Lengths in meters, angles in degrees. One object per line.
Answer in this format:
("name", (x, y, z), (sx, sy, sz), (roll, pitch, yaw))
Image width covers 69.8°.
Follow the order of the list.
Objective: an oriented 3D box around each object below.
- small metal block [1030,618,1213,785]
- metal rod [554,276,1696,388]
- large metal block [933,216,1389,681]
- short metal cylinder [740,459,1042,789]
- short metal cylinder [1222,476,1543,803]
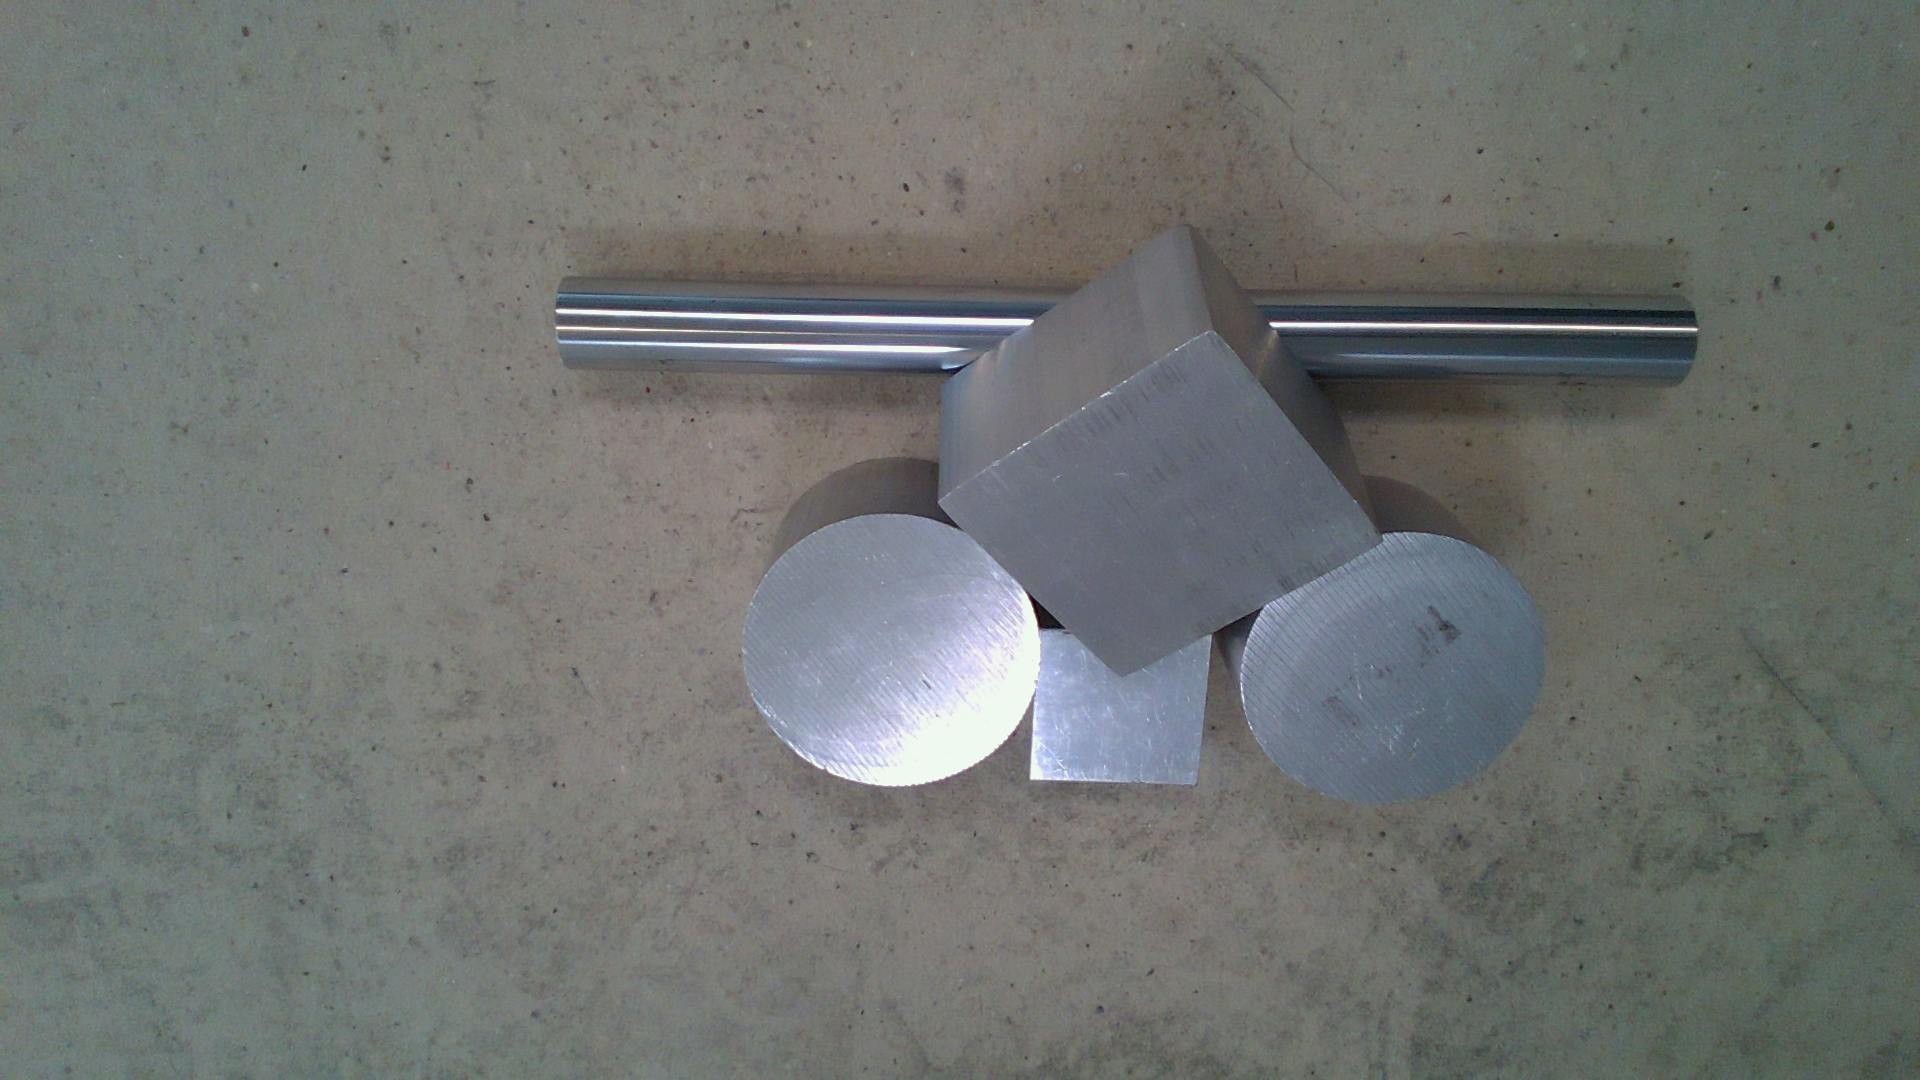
("small metal block", (0.047, 0.044, 0.411), (0.050, 0.025, 0.050), (2, 110, -1))
("metal rod", (0.044, -0.056, 0.373), (0.300, 0.025, 0.025), (1, 110, -1))
("large metal block", (0.050, -0.020, 0.355), (0.080, 0.050, 0.080), (-31, 124, 24))
("short metal cylinder", (-0.018, 0.022, 0.388), (0.080, 0.050, 0.080), (0, 110, 0))
("short metal cylinder", (0.116, 0.027, 0.391), (0.080, 0.050, 0.080), (0, 110, 0))
